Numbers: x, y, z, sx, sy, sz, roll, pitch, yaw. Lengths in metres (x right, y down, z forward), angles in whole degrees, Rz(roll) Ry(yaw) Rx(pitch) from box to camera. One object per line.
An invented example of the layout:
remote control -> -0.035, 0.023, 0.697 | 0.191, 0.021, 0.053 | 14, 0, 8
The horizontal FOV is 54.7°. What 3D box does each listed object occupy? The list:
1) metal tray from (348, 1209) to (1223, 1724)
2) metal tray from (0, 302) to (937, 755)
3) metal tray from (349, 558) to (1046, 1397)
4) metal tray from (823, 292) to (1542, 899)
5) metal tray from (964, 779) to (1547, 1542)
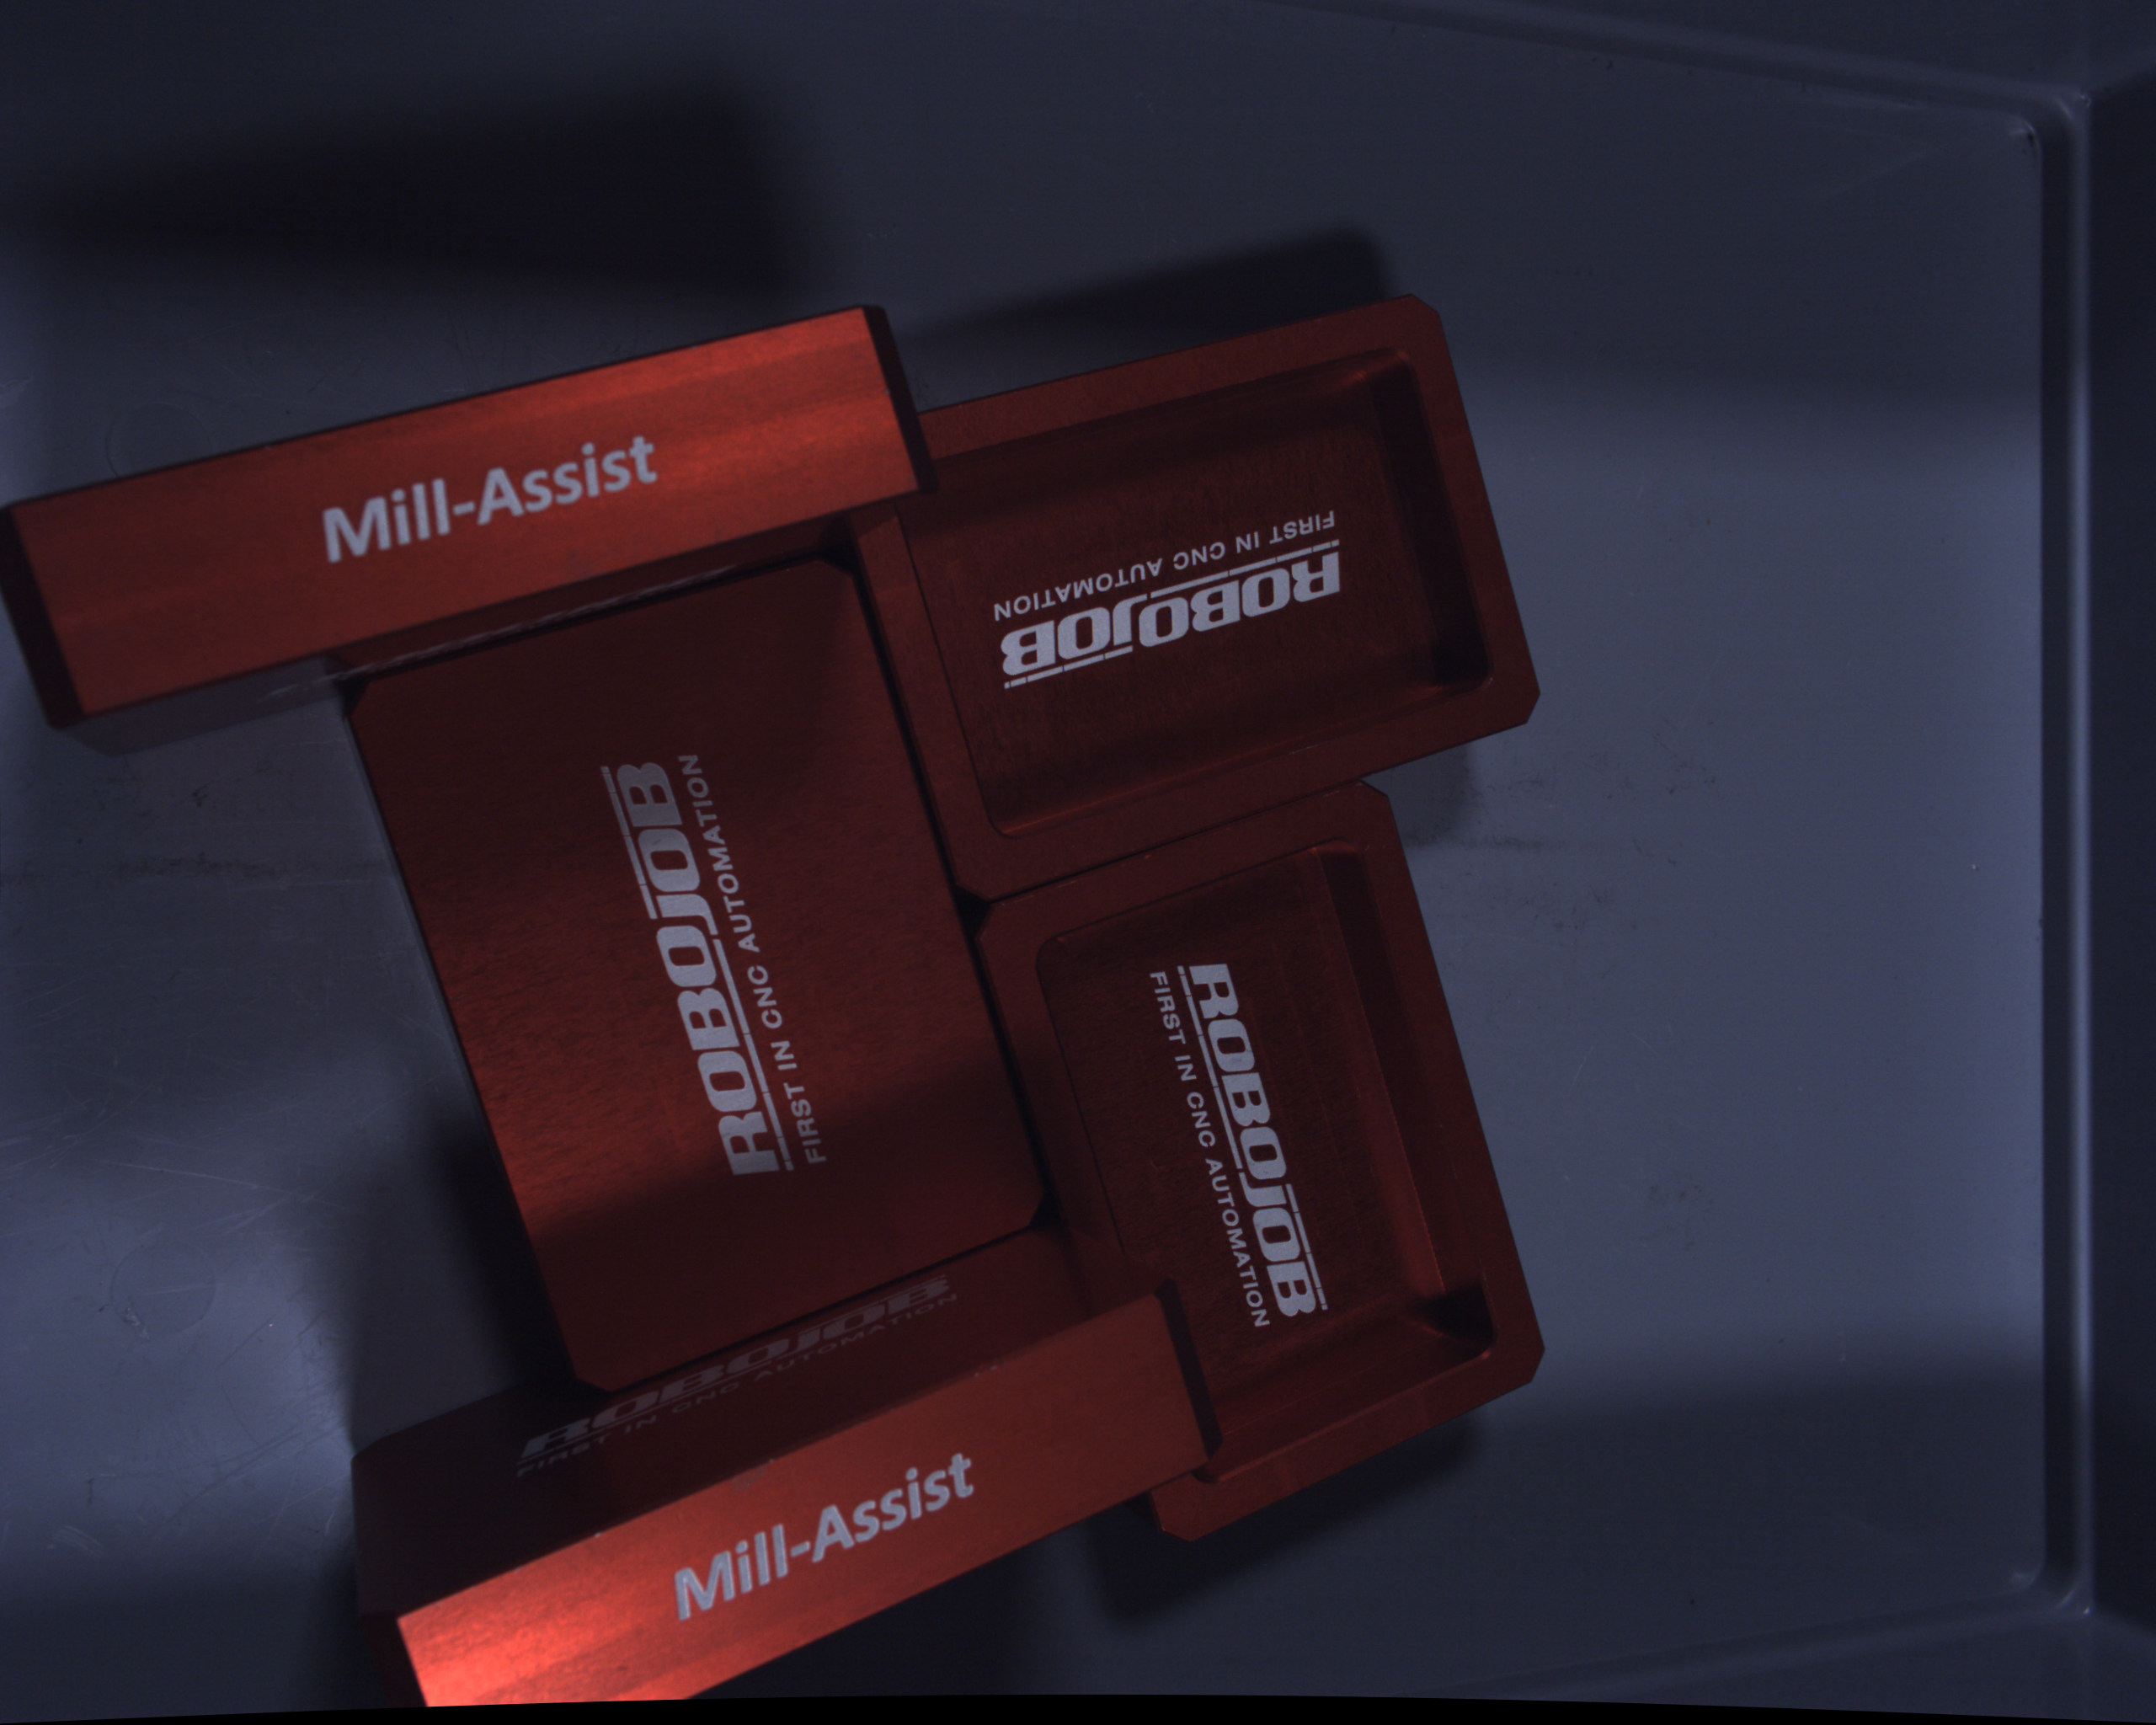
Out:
metal tray -> -0.053, 0.101, 0.354 | 0.131, 0.090, 0.030 | -18, 97, -19
metal tray -> -0.098, -0.052, 0.336 | 0.131, 0.090, 0.030 | -19, 97, -19
metal tray -> -0.068, 0.019, 0.380 | 0.091, 0.030, 0.129 | -19, 97, -19
metal tray -> 0.021, -0.054, 0.415 | 0.131, 0.030, 0.089 | -18, 96, -20
metal tray -> 0.034, 0.057, 0.420 | 0.091, 0.030, 0.129 | -19, 97, -19
